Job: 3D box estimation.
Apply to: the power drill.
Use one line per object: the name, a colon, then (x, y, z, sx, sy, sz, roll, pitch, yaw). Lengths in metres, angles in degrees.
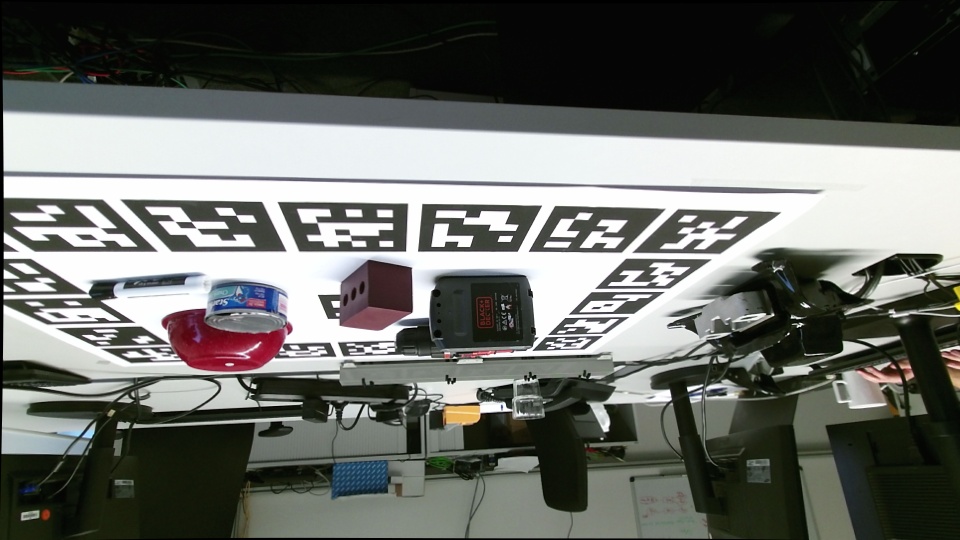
power drill: (-0.016, 0.069, 0.680, 0.185, 0.057, 0.187, 2, 159, -6)

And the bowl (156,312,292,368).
bowl: (-0.334, 0.096, 0.707, 0.162, 0.055, 0.162, -5, 164, -1)

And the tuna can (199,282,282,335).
tuna can: (-0.267, 0.044, 0.597, 0.086, 0.033, 0.086, -1, 156, -1)

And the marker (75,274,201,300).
marker: (-0.345, 0.018, 0.539, 0.121, 0.019, 0.020, -4, 155, 1)

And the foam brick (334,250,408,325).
foam brick: (-0.115, 0.020, 0.562, 0.051, 0.052, 0.078, 12, 151, -30)
